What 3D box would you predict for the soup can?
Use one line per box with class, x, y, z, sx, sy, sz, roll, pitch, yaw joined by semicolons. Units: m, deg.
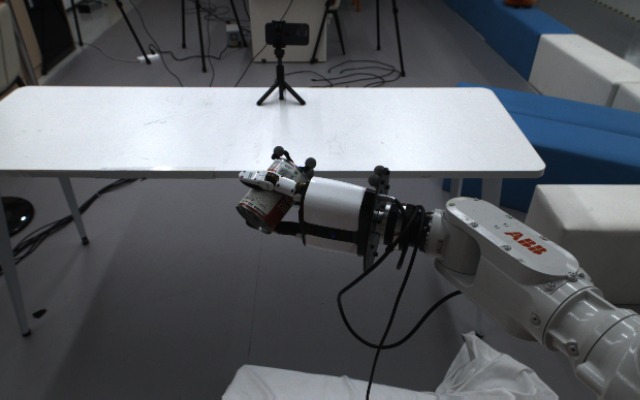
soup can;-0.072;-0.006;0.747;0.067;0.067;0.101;25;66;30
